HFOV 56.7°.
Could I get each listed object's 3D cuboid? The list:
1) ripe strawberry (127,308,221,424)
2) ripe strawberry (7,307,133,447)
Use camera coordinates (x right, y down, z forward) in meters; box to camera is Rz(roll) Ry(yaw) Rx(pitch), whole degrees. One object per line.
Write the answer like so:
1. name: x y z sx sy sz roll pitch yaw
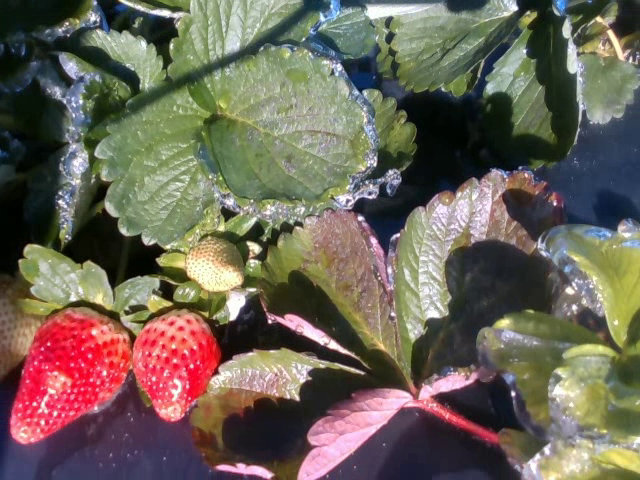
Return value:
1. ripe strawberry: -0.050 0.045 0.203 0.036 0.041 0.030 -32 -32 21
2. ripe strawberry: -0.089 0.052 0.204 0.036 0.040 0.052 -7 37 29
